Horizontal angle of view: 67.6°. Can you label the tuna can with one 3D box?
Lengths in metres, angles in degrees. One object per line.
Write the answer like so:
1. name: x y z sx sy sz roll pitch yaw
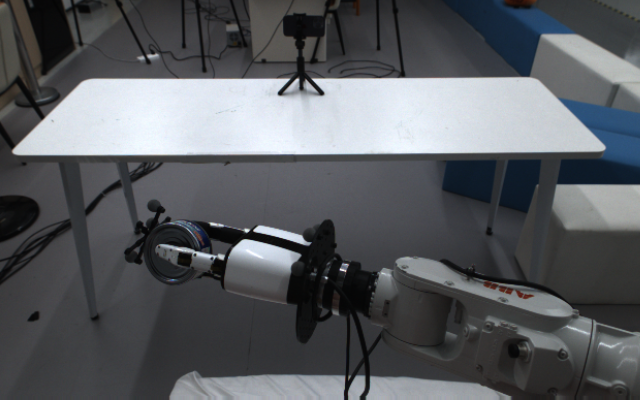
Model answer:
1. tuna can: -0.188 0.073 0.648 0.085 0.085 0.034 8 7 9
